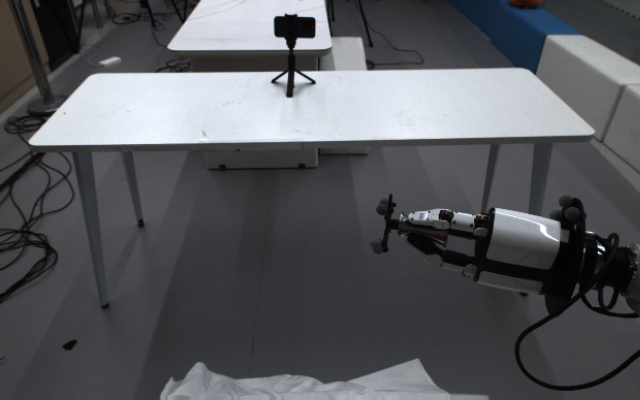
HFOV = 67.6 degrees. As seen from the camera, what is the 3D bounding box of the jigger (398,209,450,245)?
[{"bbox_3d":[0.154,0.037,0.690,0.071,0.043,0.043,8,35,13],"label":"jigger"}]
